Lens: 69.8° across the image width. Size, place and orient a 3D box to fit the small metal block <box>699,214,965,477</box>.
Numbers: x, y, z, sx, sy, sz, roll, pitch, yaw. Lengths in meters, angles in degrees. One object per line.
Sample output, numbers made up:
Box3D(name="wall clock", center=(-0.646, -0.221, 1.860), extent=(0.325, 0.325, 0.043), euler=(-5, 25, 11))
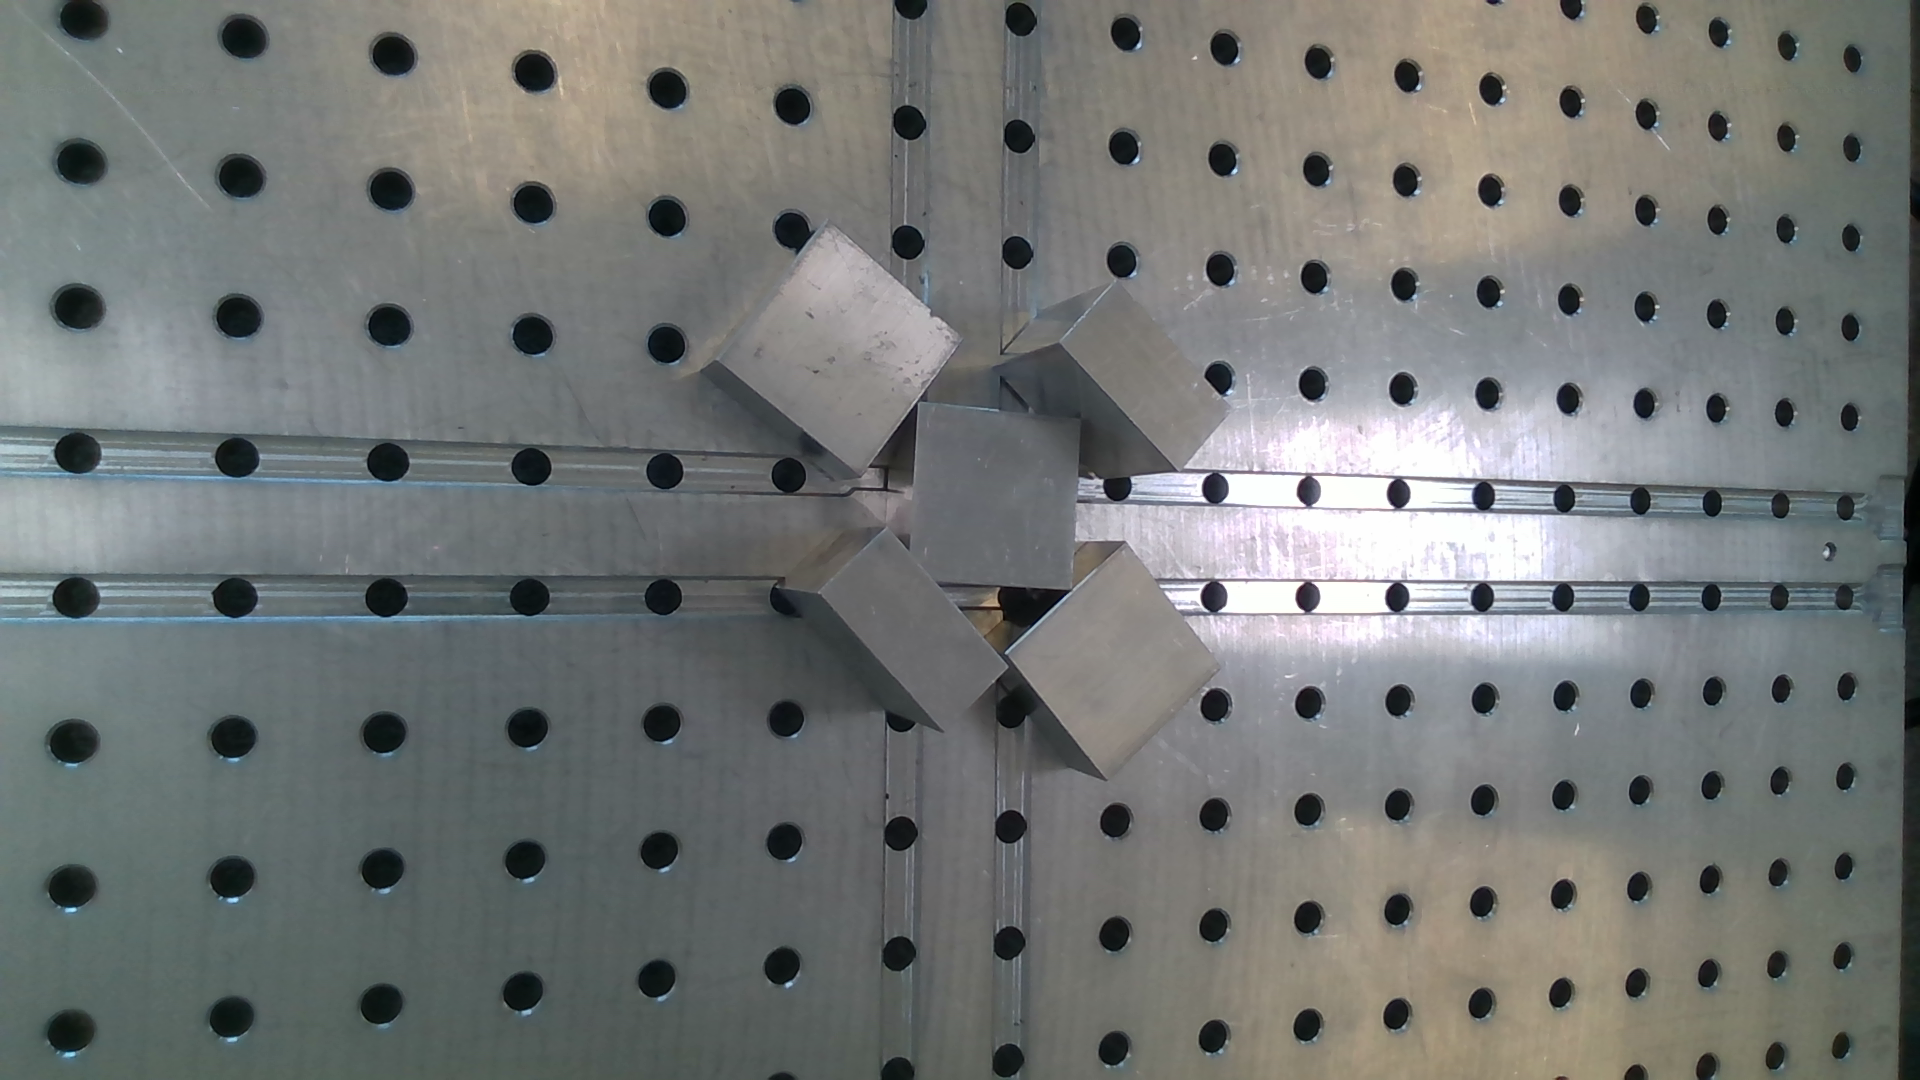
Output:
Box3D(name="small metal block", center=(-0.036, -0.053, 0.383), extent=(0.050, 0.025, 0.050), euler=(40, 78, -16))

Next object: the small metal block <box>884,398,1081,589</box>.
Box3D(name="small metal block", center=(0.006, -0.012, 0.398), extent=(0.050, 0.025, 0.050), euler=(4, 88, -21))

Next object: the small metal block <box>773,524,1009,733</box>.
Box3D(name="small metal block", center=(-0.020, 0.023, 0.375), extent=(0.025, 0.050, 0.050), euler=(-44, 104, -15))

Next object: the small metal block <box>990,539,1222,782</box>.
Box3D(name="small metal block", center=(0.041, 0.035, 0.411), extent=(0.050, 0.025, 0.050), euler=(-42, 103, -15))

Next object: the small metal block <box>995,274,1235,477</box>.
Box3D(name="small metal block", center=(0.043, -0.045, 0.398), extent=(0.050, 0.050, 0.025), euler=(45, 76, -14))
